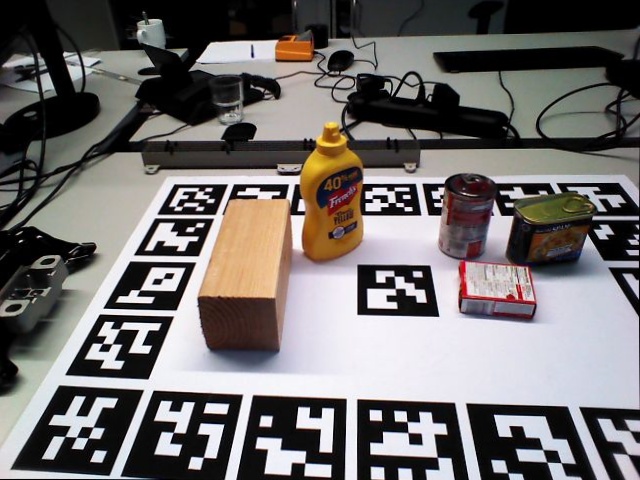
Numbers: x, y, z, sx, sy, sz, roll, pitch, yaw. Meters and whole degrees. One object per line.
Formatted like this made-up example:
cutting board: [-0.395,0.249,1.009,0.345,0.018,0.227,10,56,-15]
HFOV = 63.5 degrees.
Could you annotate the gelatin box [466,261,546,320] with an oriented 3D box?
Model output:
gelatin box: [0.230,0.059,0.643,0.090,0.030,0.073,5,39,15]

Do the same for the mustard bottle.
mustard bottle: [0.019,-0.064,0.707,0.096,0.192,0.058,-14,37,-16]

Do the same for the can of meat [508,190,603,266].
can of meat: [0.312,-0.014,0.697,0.102,0.084,0.057,-7,37,-8]

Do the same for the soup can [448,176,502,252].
soup can: [0.215,-0.043,0.713,0.068,0.102,0.067,-3,38,2]

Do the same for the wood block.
wood block: [-0.084,0.035,0.661,0.091,0.090,0.205,2,33,5]
